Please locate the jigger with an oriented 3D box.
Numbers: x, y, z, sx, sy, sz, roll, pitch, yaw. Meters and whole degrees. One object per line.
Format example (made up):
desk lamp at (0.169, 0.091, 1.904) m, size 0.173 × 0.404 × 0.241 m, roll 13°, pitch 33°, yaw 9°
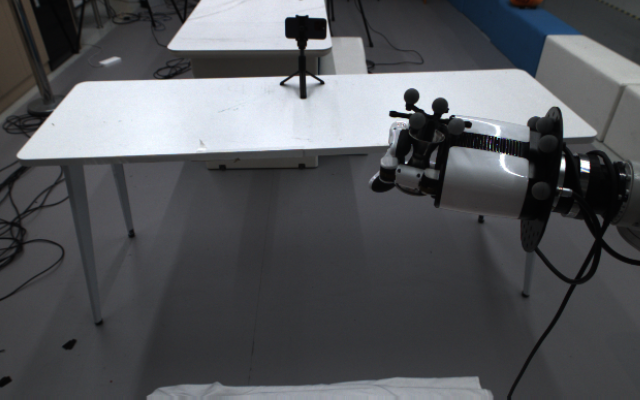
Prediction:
jigger at (0.115, -0.044, 0.555) m, size 0.043 × 0.071 × 0.043 m, roll 7°, pitch 32°, yaw -4°
